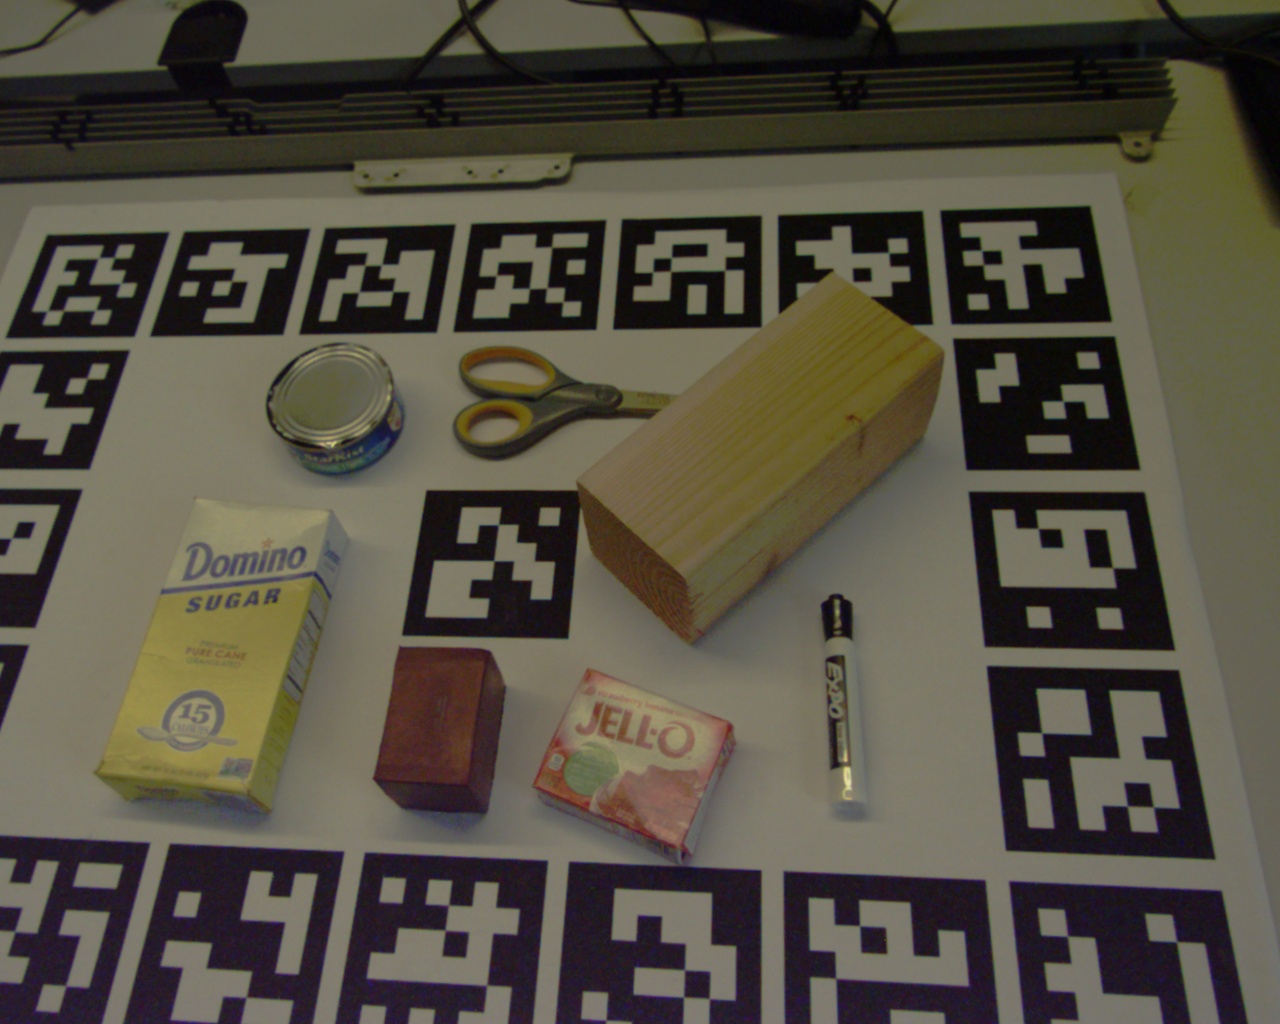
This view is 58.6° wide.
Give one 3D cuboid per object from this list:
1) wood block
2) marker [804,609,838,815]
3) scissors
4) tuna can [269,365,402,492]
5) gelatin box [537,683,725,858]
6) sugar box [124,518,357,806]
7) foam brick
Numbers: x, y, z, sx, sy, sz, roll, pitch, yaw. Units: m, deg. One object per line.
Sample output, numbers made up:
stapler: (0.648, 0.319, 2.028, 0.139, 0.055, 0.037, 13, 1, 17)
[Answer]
wood block: (0.073, -0.019, 0.710, 0.205, 0.090, 0.091, -41, 64, -15)
marker: (0.107, 0.115, 0.668, 0.020, 0.019, 0.121, 1, 64, 7)
scissors: (-0.037, -0.059, 0.785, 0.204, 0.016, 0.088, 6, 63, 13)
tuna can: (-0.211, -0.058, 0.793, 0.086, 0.033, 0.086, -3, 62, 6)
gelatin box: (-0.004, 0.148, 0.660, 0.090, 0.030, 0.073, 17, 66, 16)
sugar box: (-0.246, 0.091, 0.716, 0.093, 0.045, 0.176, 4, 62, 8)
foam brick: (-0.108, 0.133, 0.665, 0.053, 0.051, 0.078, 2, 63, 8)
